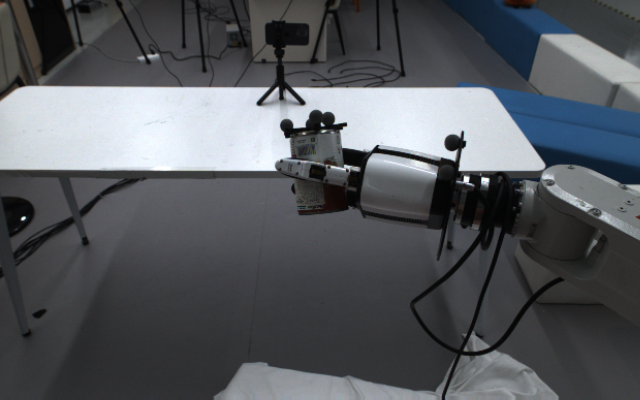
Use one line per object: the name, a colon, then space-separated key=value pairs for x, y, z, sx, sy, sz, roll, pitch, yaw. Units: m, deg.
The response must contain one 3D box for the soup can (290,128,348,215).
soup can: x=0.000 y=-0.035 z=0.620 sx=0.067 sy=0.101 sz=0.067 roll=-7 pitch=3 yaw=0
